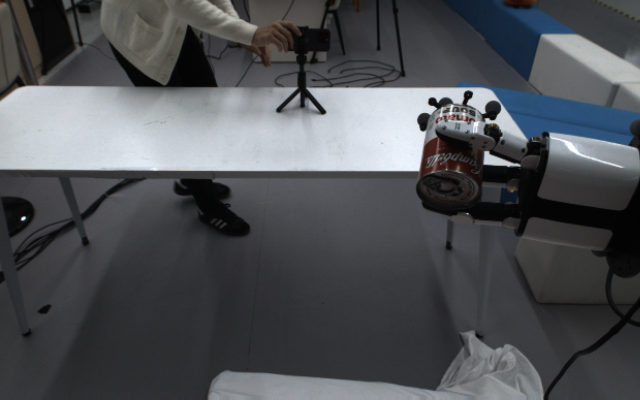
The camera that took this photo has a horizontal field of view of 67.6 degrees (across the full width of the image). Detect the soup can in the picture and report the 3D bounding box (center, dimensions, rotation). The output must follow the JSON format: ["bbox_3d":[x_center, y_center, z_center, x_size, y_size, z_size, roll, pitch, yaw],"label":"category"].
[{"bbox_3d":[0.148,-0.050,0.538,0.067,0.067,0.101,9,56,10],"label":"soup can"}]
